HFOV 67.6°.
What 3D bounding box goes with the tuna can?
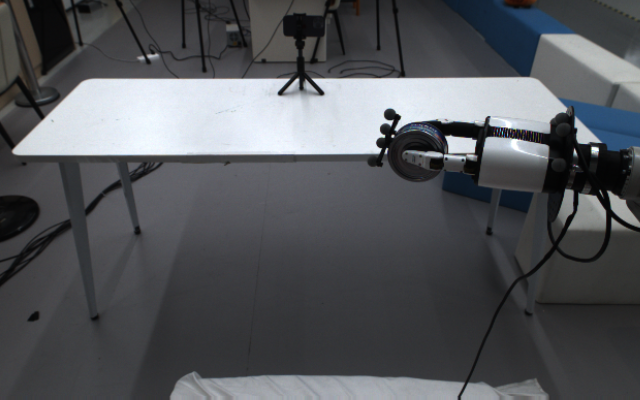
[{"bbox_3d":[0.146,-0.073,0.721,0.085,0.085,0.034,12,30,13],"label":"tuna can"}]
